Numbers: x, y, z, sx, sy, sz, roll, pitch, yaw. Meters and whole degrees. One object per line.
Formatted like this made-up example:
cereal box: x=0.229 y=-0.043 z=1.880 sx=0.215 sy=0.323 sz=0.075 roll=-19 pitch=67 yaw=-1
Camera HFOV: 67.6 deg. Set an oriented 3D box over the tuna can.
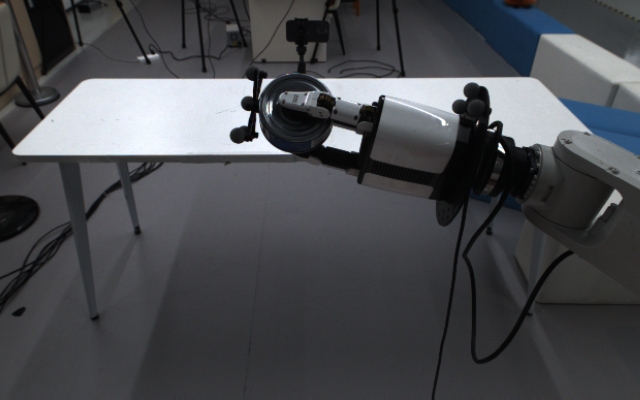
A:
tuna can: x=-0.024 y=-0.100 z=0.548 sx=0.085 sy=0.034 sz=0.085 roll=1 pitch=73 yaw=-5
